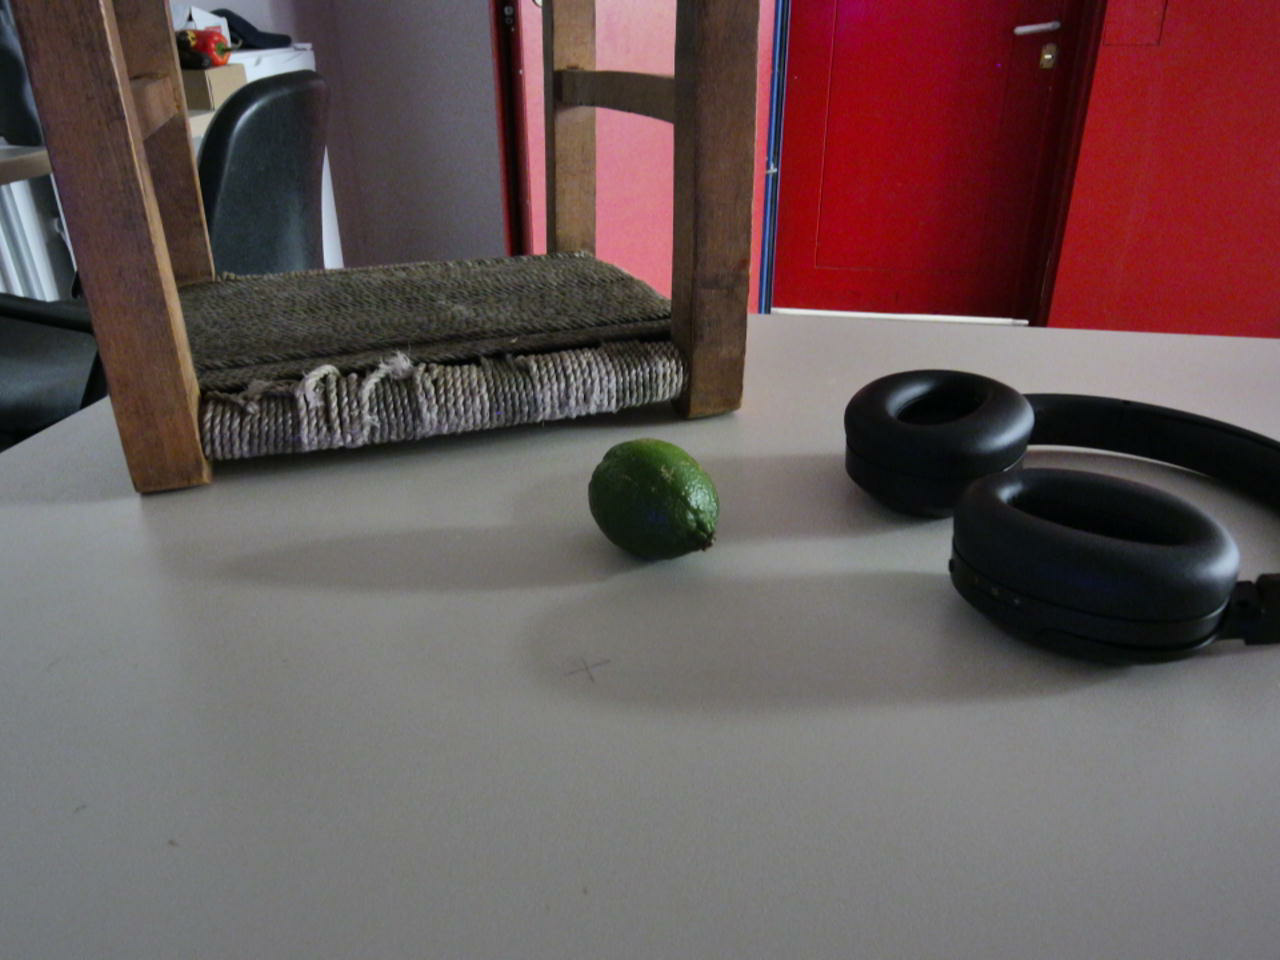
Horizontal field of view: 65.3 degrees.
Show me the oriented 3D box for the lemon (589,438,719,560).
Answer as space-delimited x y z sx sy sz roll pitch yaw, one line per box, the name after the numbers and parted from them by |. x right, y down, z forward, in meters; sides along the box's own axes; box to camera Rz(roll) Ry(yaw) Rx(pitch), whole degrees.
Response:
0.006 0.007 0.437 0.057 0.051 0.054 2 25 8 | lemon
